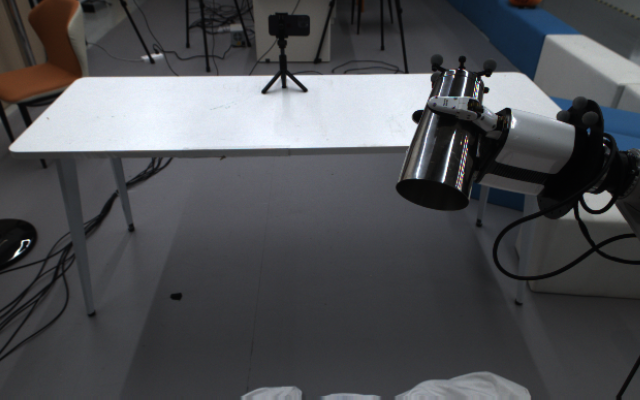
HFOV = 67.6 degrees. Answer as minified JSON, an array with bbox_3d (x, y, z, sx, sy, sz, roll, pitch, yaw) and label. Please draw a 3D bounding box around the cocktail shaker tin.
[{"bbox_3d":[0.165,-0.083,0.629,0.093,0.093,0.170,13,70,15],"label":"cocktail shaker tin"}]
